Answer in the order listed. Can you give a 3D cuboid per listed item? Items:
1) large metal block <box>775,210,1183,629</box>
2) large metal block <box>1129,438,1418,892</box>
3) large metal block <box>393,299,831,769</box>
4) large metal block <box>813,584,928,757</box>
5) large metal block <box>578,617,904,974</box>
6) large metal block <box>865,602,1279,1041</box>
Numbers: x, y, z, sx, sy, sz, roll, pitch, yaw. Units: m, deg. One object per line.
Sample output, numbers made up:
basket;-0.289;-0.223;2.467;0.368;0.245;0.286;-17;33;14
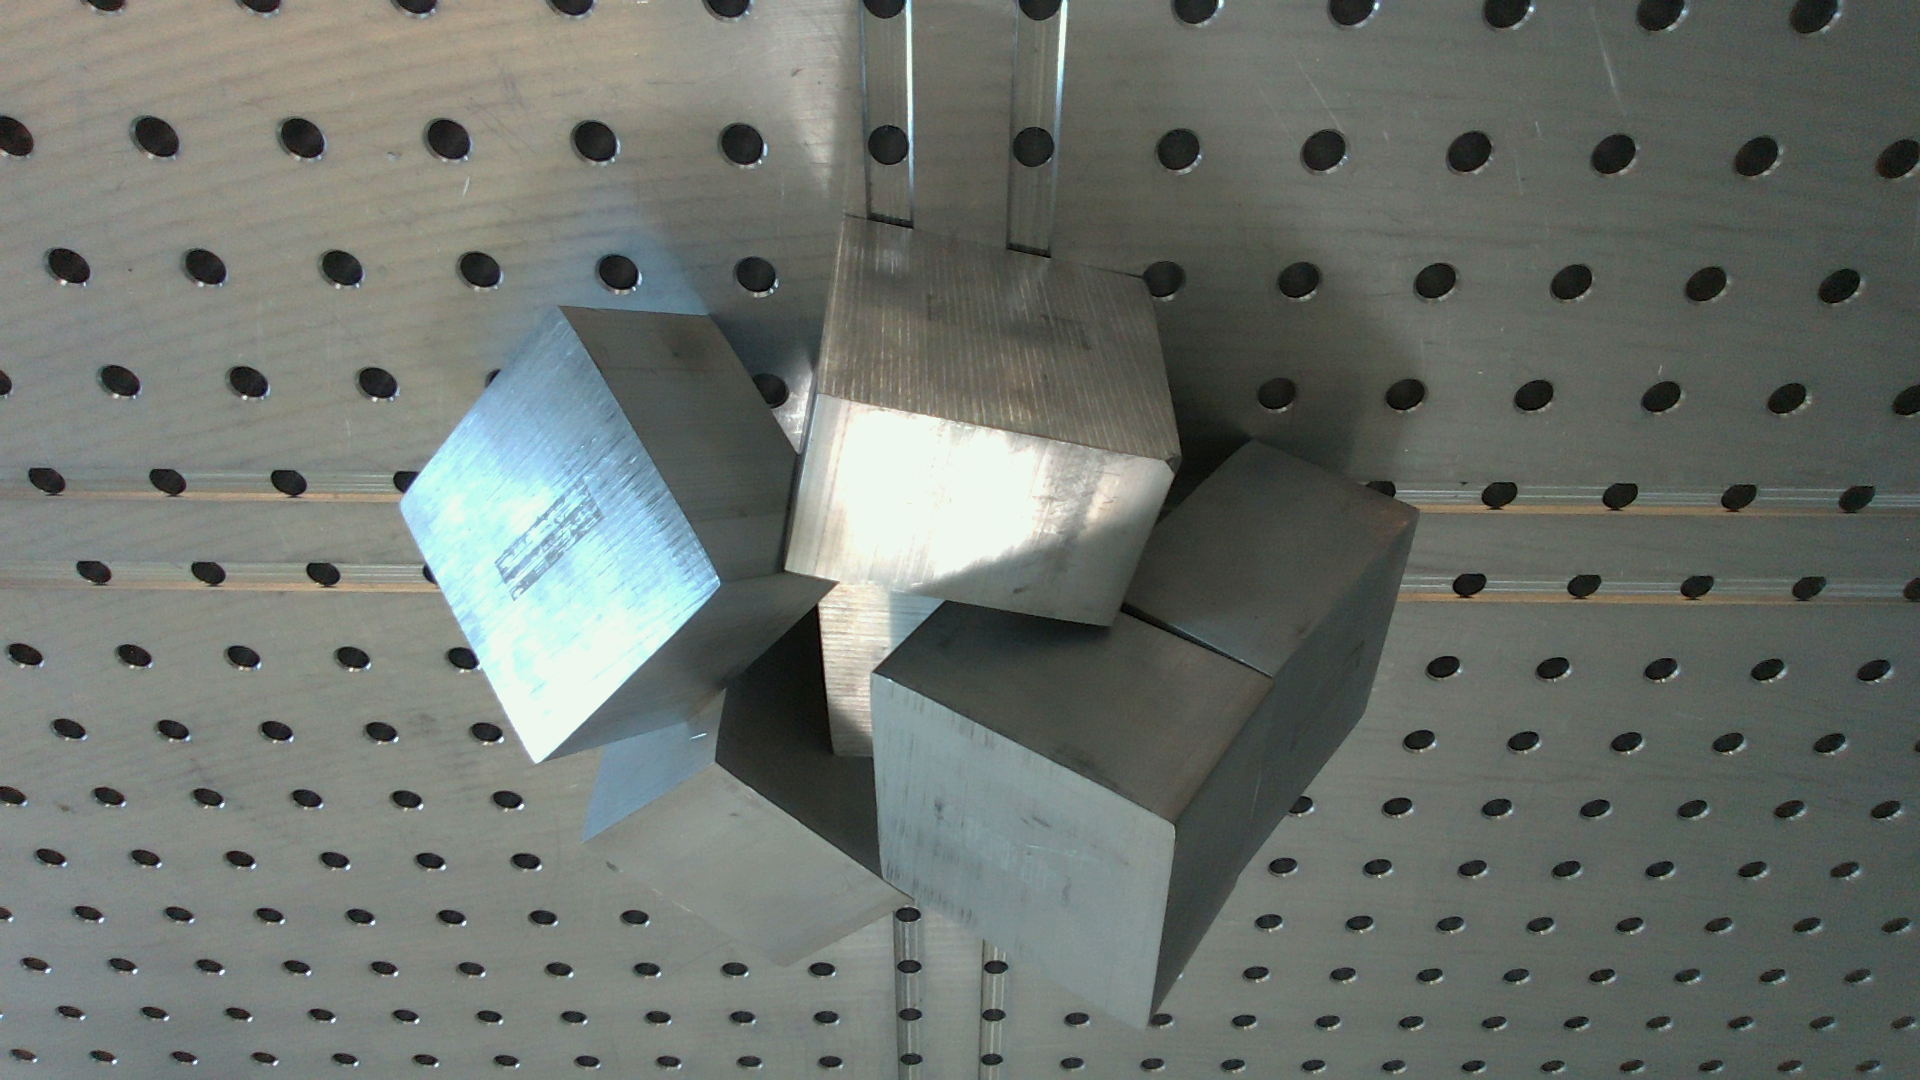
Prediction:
large metal block;0.003;-0.030;0.332;0.080;0.080;0.050;10;129;-8
large metal block;0.077;0.032;0.374;0.050;0.080;0.080;26;136;28
large metal block;-0.086;-0.002;0.347;0.080;0.080;0.050;-41;163;29
large metal block;0.001;0.016;0.391;0.080;0.050;0.080;0;130;-1
large metal block;-0.059;0.069;0.414;0.050;0.080;0.080;-33;123;24
large metal block;0.025;0.062;0.339;0.080;0.050;0.080;23;134;25
